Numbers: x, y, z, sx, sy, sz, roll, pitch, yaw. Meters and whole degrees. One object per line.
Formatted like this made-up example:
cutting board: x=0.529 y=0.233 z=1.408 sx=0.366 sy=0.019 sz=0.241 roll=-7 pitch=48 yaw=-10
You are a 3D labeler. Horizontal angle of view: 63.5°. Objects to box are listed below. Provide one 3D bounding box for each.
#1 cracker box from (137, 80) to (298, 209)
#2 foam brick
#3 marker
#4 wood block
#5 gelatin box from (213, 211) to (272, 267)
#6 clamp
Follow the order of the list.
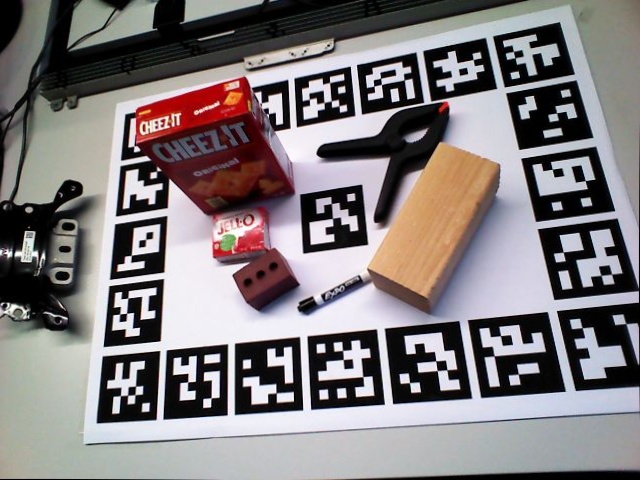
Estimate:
cracker box: x=-0.137 y=-0.129 z=0.748 sx=0.165 sy=0.214 sz=0.071 roll=-11 pitch=68 yaw=9
foam brick: x=-0.081 y=0.066 z=0.759 sx=0.078 sy=0.051 sz=0.052 roll=-31 pitch=68 yaw=3
marker: x=0.012 y=0.087 z=0.743 sx=0.121 sy=0.019 sz=0.019 roll=-27 pitch=68 yaw=5
wood block: x=0.159 y=-0.007 z=0.704 sx=0.090 sy=0.091 sz=0.205 roll=27 pitch=77 yaw=24
gelatin box: x=-0.122 y=-0.001 z=0.807 sx=0.090 sy=0.030 sz=0.073 roll=-9 pitch=71 yaw=12
clamp: x=0.118 y=-0.134 z=0.784 sx=0.203 sy=0.036 sz=0.165 roll=-37 pitch=67 yaw=1
